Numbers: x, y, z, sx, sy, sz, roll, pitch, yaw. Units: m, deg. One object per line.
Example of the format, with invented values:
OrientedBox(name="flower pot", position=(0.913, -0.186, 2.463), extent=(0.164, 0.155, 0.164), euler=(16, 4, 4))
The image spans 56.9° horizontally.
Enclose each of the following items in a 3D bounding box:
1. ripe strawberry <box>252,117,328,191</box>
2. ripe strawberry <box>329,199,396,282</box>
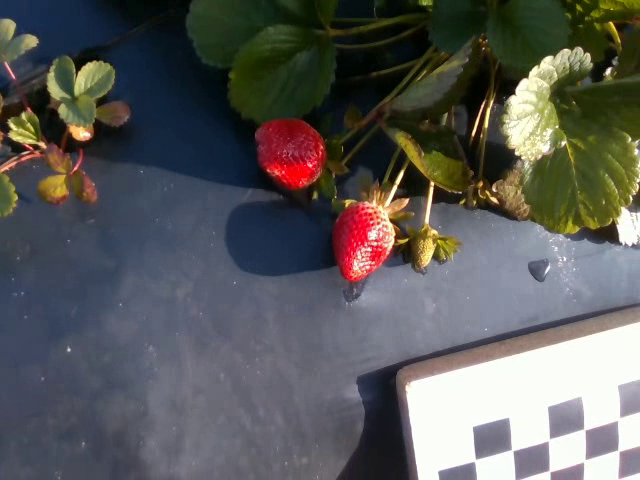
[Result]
OrientedBox(name="ripe strawberry", position=(-0.018, -0.052, 0.350), extent=(0.054, 0.048, 0.039), euler=(0, 12, -36))
OrientedBox(name="ripe strawberry", position=(0.024, 0.002, 0.335), extent=(0.043, 0.053, 0.038), euler=(33, -36, -16))
